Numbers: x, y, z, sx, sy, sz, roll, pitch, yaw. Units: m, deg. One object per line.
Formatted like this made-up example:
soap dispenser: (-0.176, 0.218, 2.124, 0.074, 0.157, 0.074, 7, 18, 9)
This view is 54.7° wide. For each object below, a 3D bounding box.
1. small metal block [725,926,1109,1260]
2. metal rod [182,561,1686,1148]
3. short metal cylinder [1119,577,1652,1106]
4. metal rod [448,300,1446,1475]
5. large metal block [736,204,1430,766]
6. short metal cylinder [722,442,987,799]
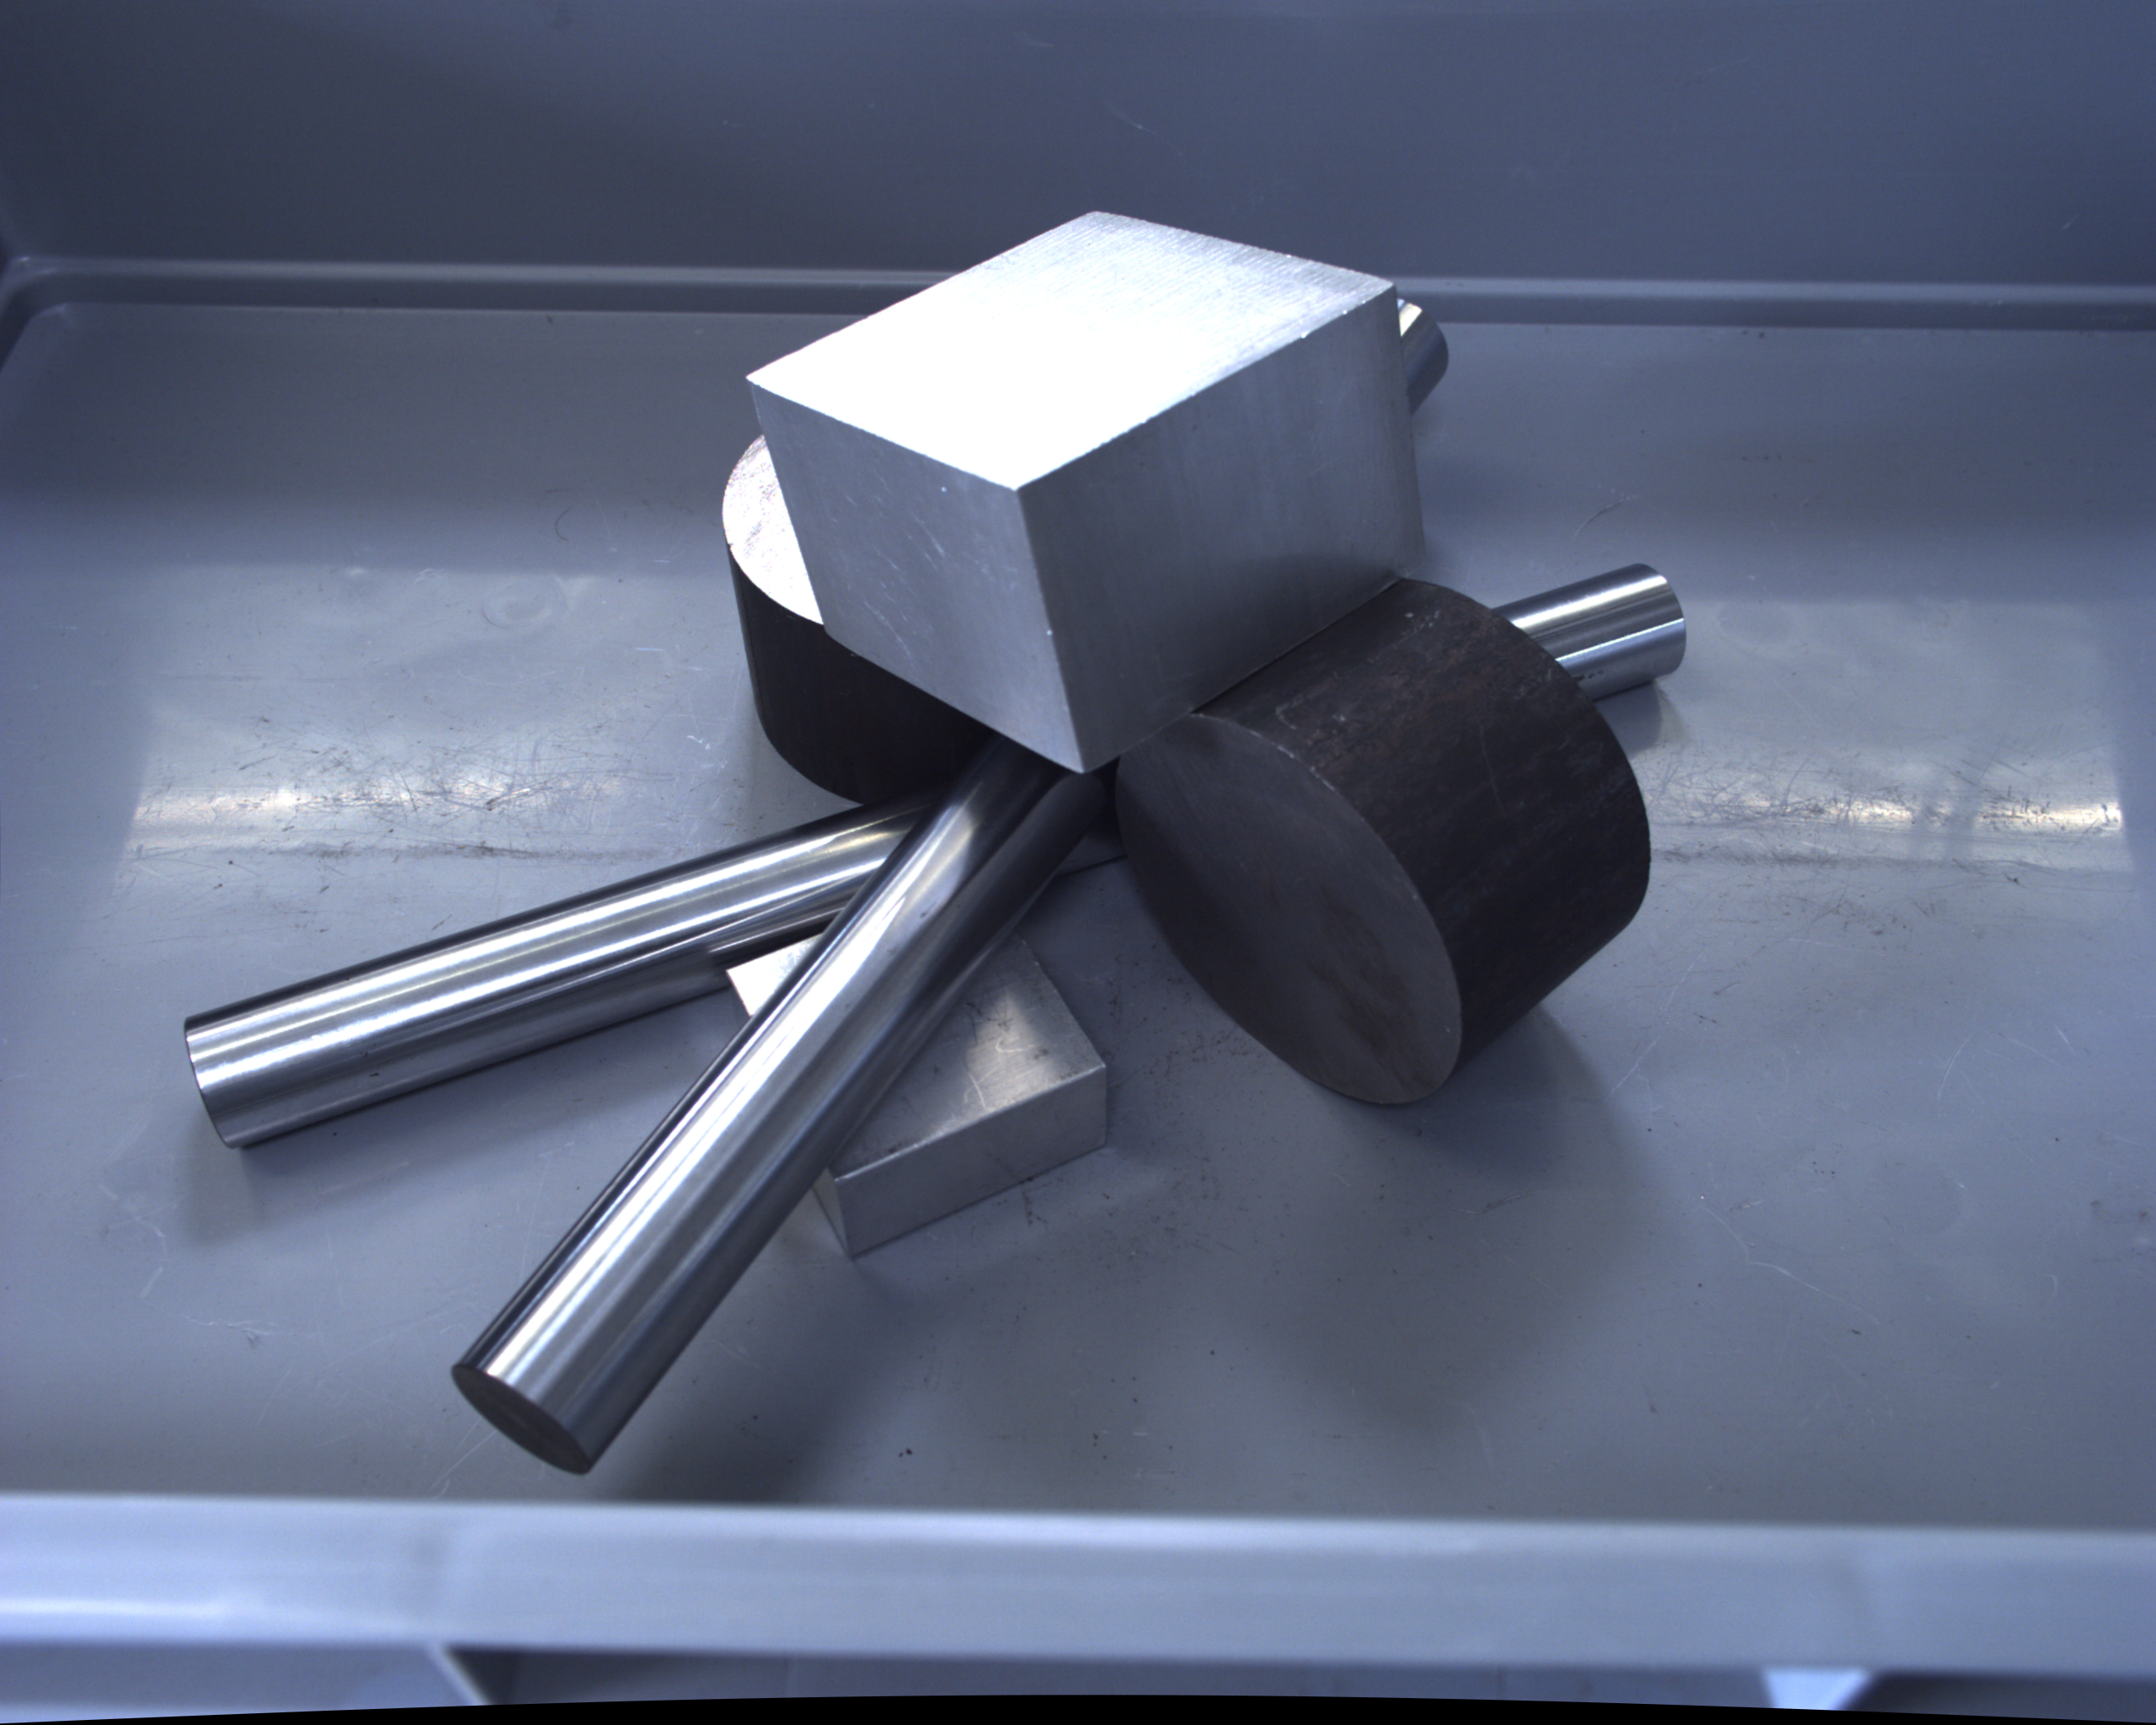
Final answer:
small metal block: (-0.029, 0.035, 0.373, 0.050, 0.025, 0.050, -22, 54, -18)
metal rod: (-0.015, -0.007, 0.408, 0.302, 0.025, 0.025, -18, 53, -15)
short metal cylinder: (0.053, -0.004, 0.371, 0.050, 0.080, 0.080, -36, 59, -25)
metal rod: (-0.005, -0.018, 0.386, 0.025, 0.025, 0.301, 24, 54, 19)
large metal block: (0.001, -0.070, 0.363, 0.080, 0.050, 0.080, -33, 40, -24)
short metal cylinder: (-0.030, -0.057, 0.434, 0.081, 0.050, 0.080, 0, 50, 0)
